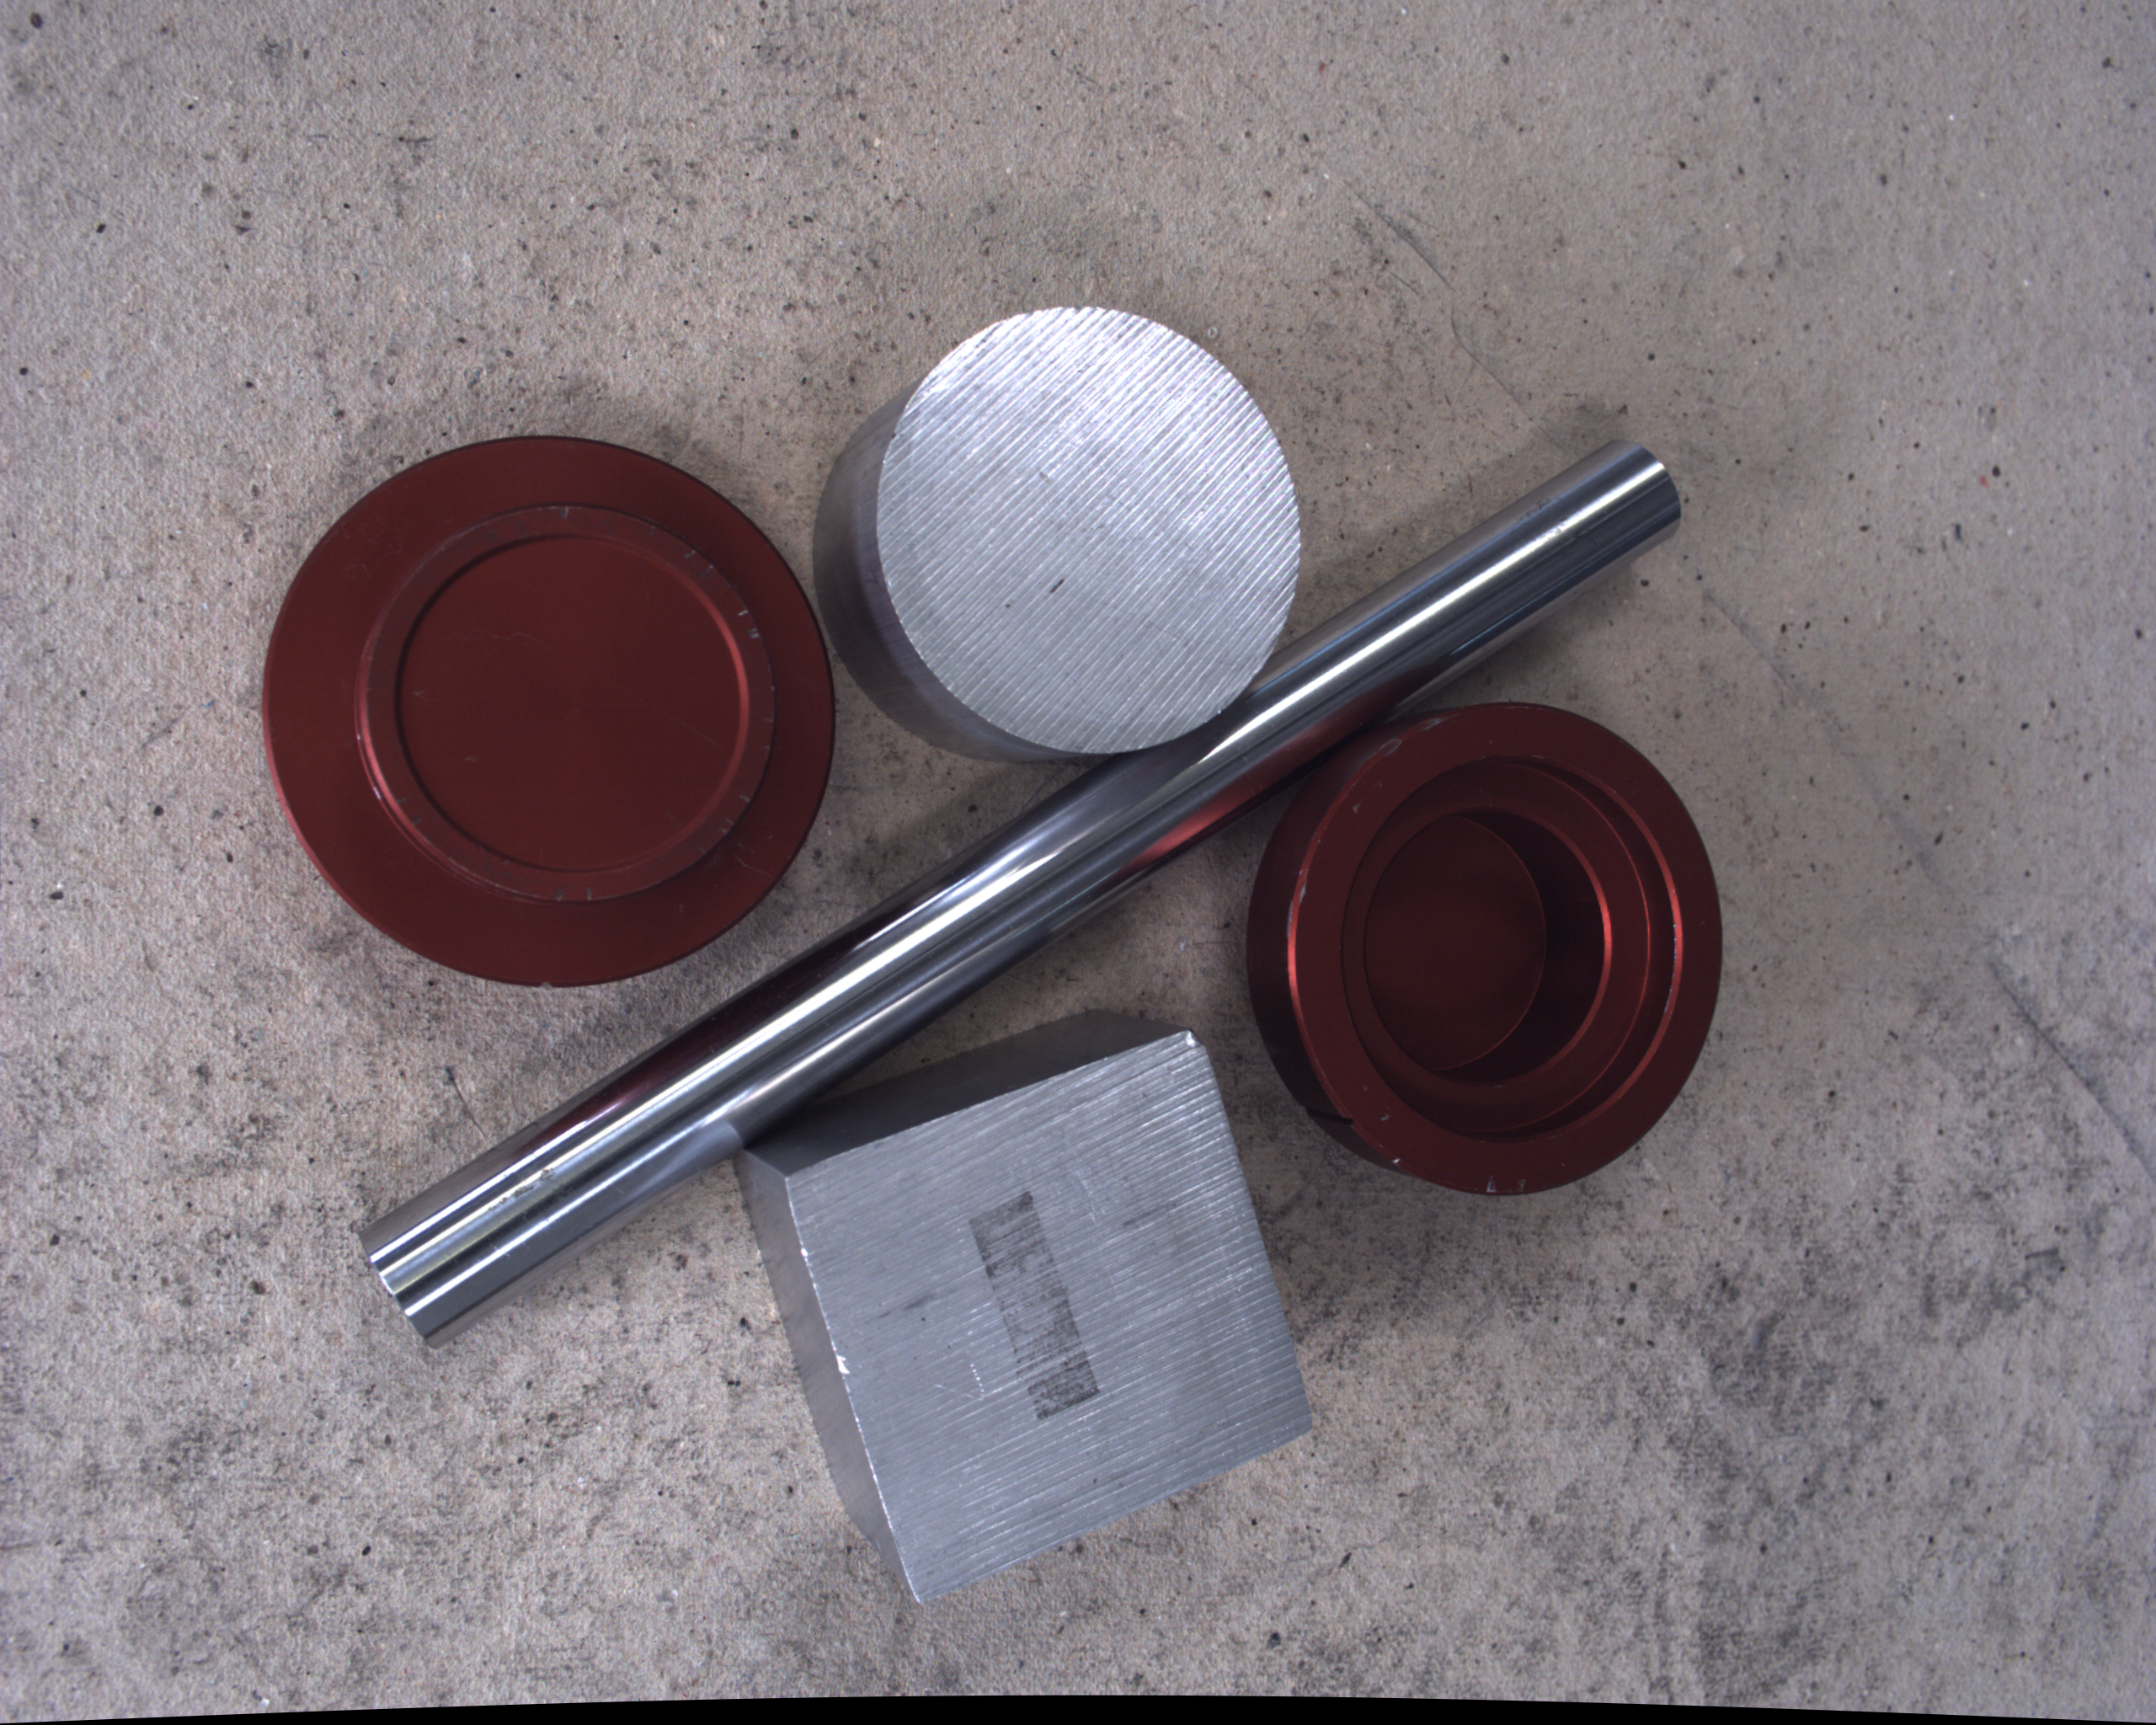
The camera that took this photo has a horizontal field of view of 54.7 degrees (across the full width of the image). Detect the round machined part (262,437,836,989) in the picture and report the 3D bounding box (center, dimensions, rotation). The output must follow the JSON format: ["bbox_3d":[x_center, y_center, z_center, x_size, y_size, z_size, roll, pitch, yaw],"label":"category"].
[{"bbox_3d":[-0.091,-0.026,0.367,0.099,0.042,0.097,0,90,-20],"label":"round machined part"}]

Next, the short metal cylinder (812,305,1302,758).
[{"bbox_3d":[-0.005,-0.059,0.394,0.081,0.050,0.079,0,90,-20],"label":"short metal cylinder"}]

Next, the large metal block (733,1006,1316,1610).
[{"bbox_3d":[-0.012,0.079,0.393,0.081,0.050,0.080,-18,96,-19],"label":"large metal block"}]

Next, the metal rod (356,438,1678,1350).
[{"bbox_3d":[0.001,-0.003,0.411,0.302,0.025,0.025,-33,101,-17],"label":"metal rod"}]

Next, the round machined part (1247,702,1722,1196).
[{"bbox_3d":[0.079,0.017,0.430,0.099,0.042,0.097,0,90,-20],"label":"round machined part"}]
